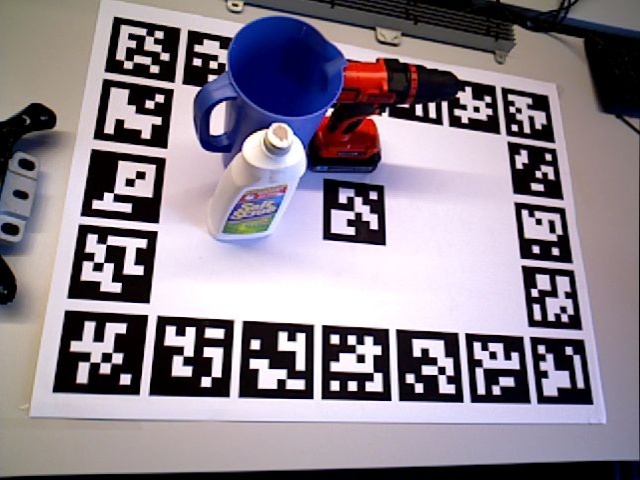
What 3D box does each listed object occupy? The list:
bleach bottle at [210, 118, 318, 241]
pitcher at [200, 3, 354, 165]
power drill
[{"bbox_3d":[-0.068,-0.069,0.632,0.101,0.255,0.067,-3,73,-16],"label":"bleach bottle"},{"bbox_3d":[-0.064,-0.159,0.682,0.185,0.247,0.133,-23,82,-21],"label":"pitcher"},{"bbox_3d":[0.094,-0.160,0.736,0.182,0.190,0.057,1,75,-21],"label":"power drill"}]
